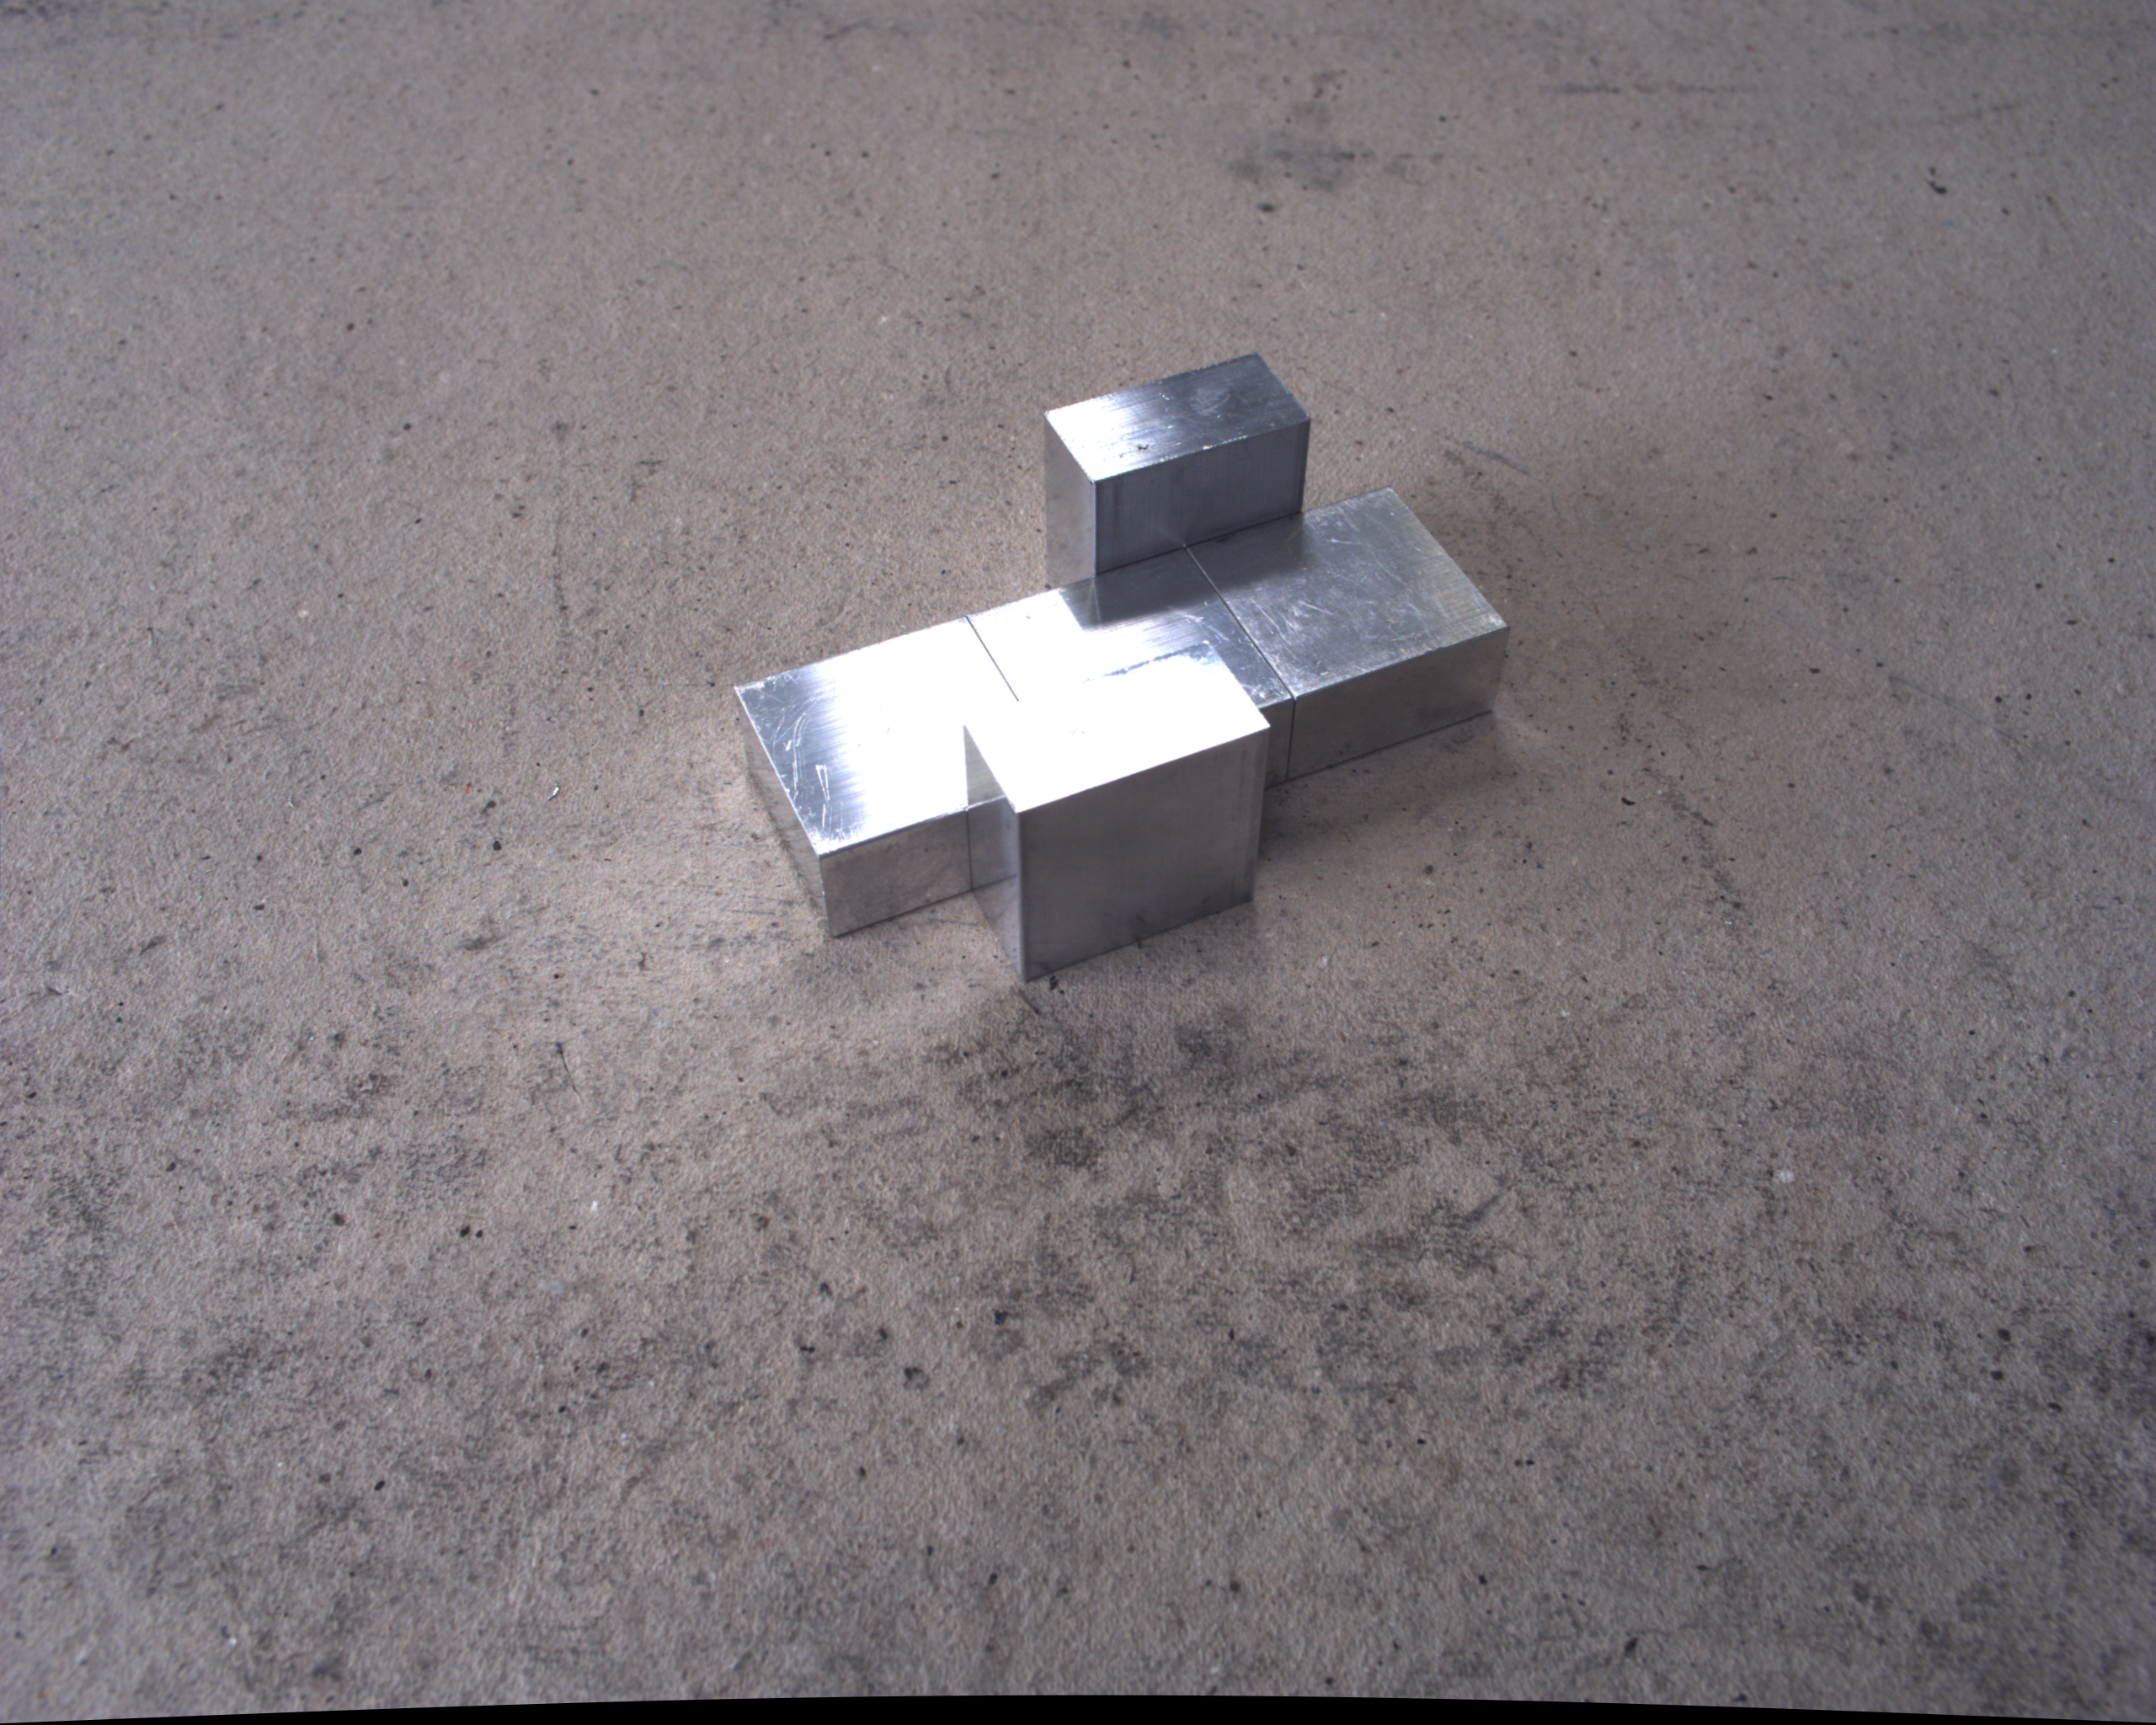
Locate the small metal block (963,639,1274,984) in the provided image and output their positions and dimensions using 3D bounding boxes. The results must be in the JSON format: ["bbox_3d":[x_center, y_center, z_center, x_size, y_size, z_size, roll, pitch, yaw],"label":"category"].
[{"bbox_3d":[0.008,-0.009,0.396,0.050,0.050,0.025,-20,52,-15],"label":"small metal block"}]

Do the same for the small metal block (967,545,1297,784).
[{"bbox_3d":[0.010,-0.034,0.433,0.050,0.025,0.050,-19,53,-16],"label":"small metal block"}]

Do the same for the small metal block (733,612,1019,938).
[{"bbox_3d":[-0.036,-0.019,0.419,0.050,0.025,0.050,-19,53,-16],"label":"small metal block"}]

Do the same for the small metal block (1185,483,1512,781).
[{"bbox_3d":[0.056,-0.050,0.447,0.050,0.025,0.050,-19,53,-16],"label":"small metal block"}]

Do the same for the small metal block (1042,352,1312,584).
[{"bbox_3d":[0.021,-0.077,0.454,0.050,0.050,0.025,-20,53,-15],"label":"small metal block"}]
